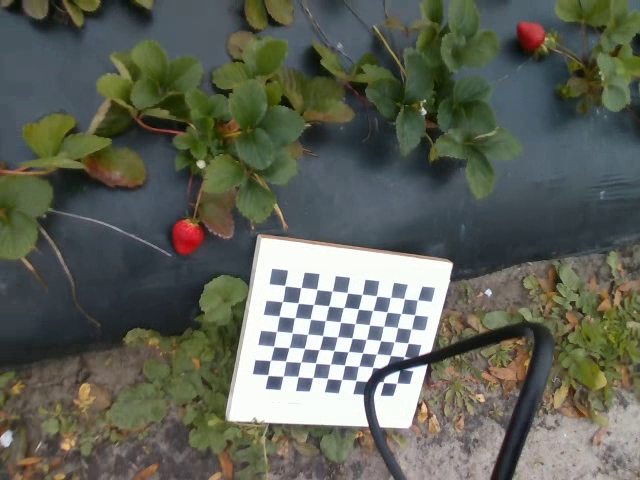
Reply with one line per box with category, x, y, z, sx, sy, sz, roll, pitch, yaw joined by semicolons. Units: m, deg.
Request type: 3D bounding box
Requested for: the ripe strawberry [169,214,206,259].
ripe strawberry;-0.114;-0.005;0.473;0.029;0.032;0.023;24;4;-15
